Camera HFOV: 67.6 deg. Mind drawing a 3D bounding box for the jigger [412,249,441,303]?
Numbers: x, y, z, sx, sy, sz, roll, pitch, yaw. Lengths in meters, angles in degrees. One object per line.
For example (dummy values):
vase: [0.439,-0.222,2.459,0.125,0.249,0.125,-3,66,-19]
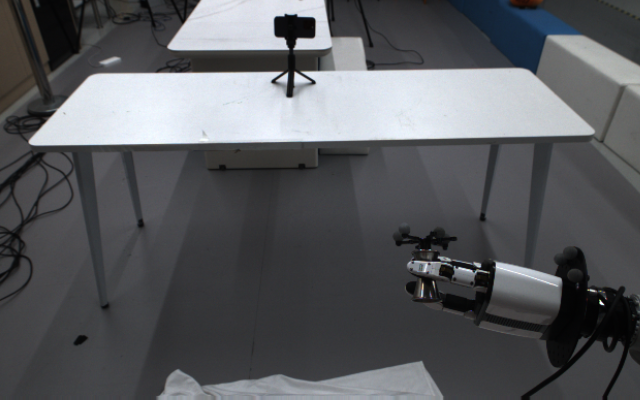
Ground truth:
jigger: [0.147,0.105,0.677,0.043,0.043,0.071,3,72,1]
